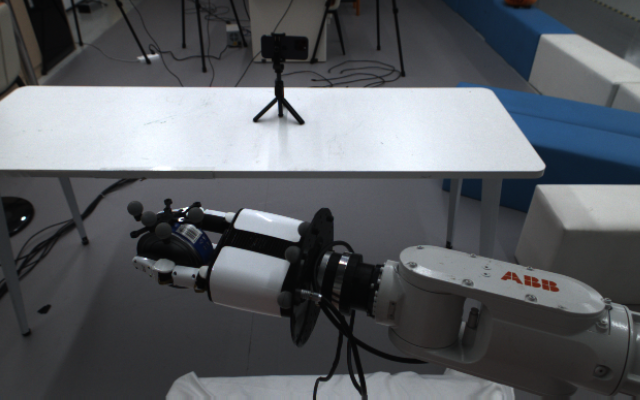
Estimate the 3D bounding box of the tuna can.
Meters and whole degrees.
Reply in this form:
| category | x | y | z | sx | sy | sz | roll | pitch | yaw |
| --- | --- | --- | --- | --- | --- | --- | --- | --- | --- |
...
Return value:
| category | x | y | z | sx | sy | sz | roll | pitch | yaw |
| --- | --- | --- | --- | --- | --- | --- | --- | --- | --- |
| tuna can | -0.170 | 0.063 | 0.581 | 0.085 | 0.085 | 0.034 | 11 | 33 | 13 |
